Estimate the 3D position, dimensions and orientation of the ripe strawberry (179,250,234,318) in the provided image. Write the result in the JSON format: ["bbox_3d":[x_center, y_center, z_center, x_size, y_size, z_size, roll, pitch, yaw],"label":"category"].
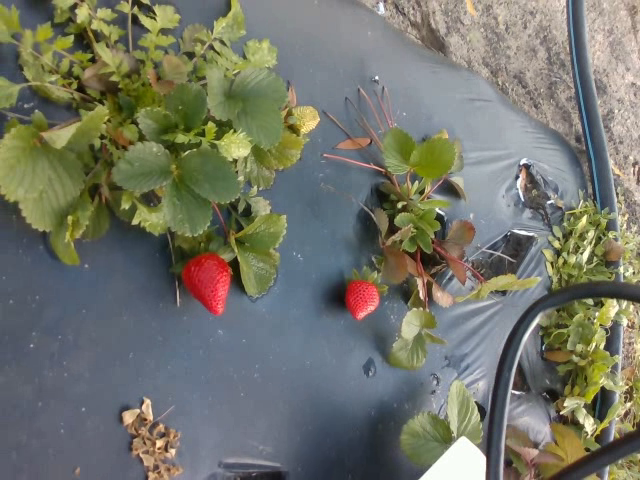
[{"bbox_3d":[-0.085,0.037,0.443,0.046,0.050,0.051,-29,-47,4],"label":"ripe strawberry"}]

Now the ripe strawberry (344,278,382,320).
[{"bbox_3d":[0.036,0.060,0.540,0.041,0.045,0.052,4,36,14],"label":"ripe strawberry"}]
